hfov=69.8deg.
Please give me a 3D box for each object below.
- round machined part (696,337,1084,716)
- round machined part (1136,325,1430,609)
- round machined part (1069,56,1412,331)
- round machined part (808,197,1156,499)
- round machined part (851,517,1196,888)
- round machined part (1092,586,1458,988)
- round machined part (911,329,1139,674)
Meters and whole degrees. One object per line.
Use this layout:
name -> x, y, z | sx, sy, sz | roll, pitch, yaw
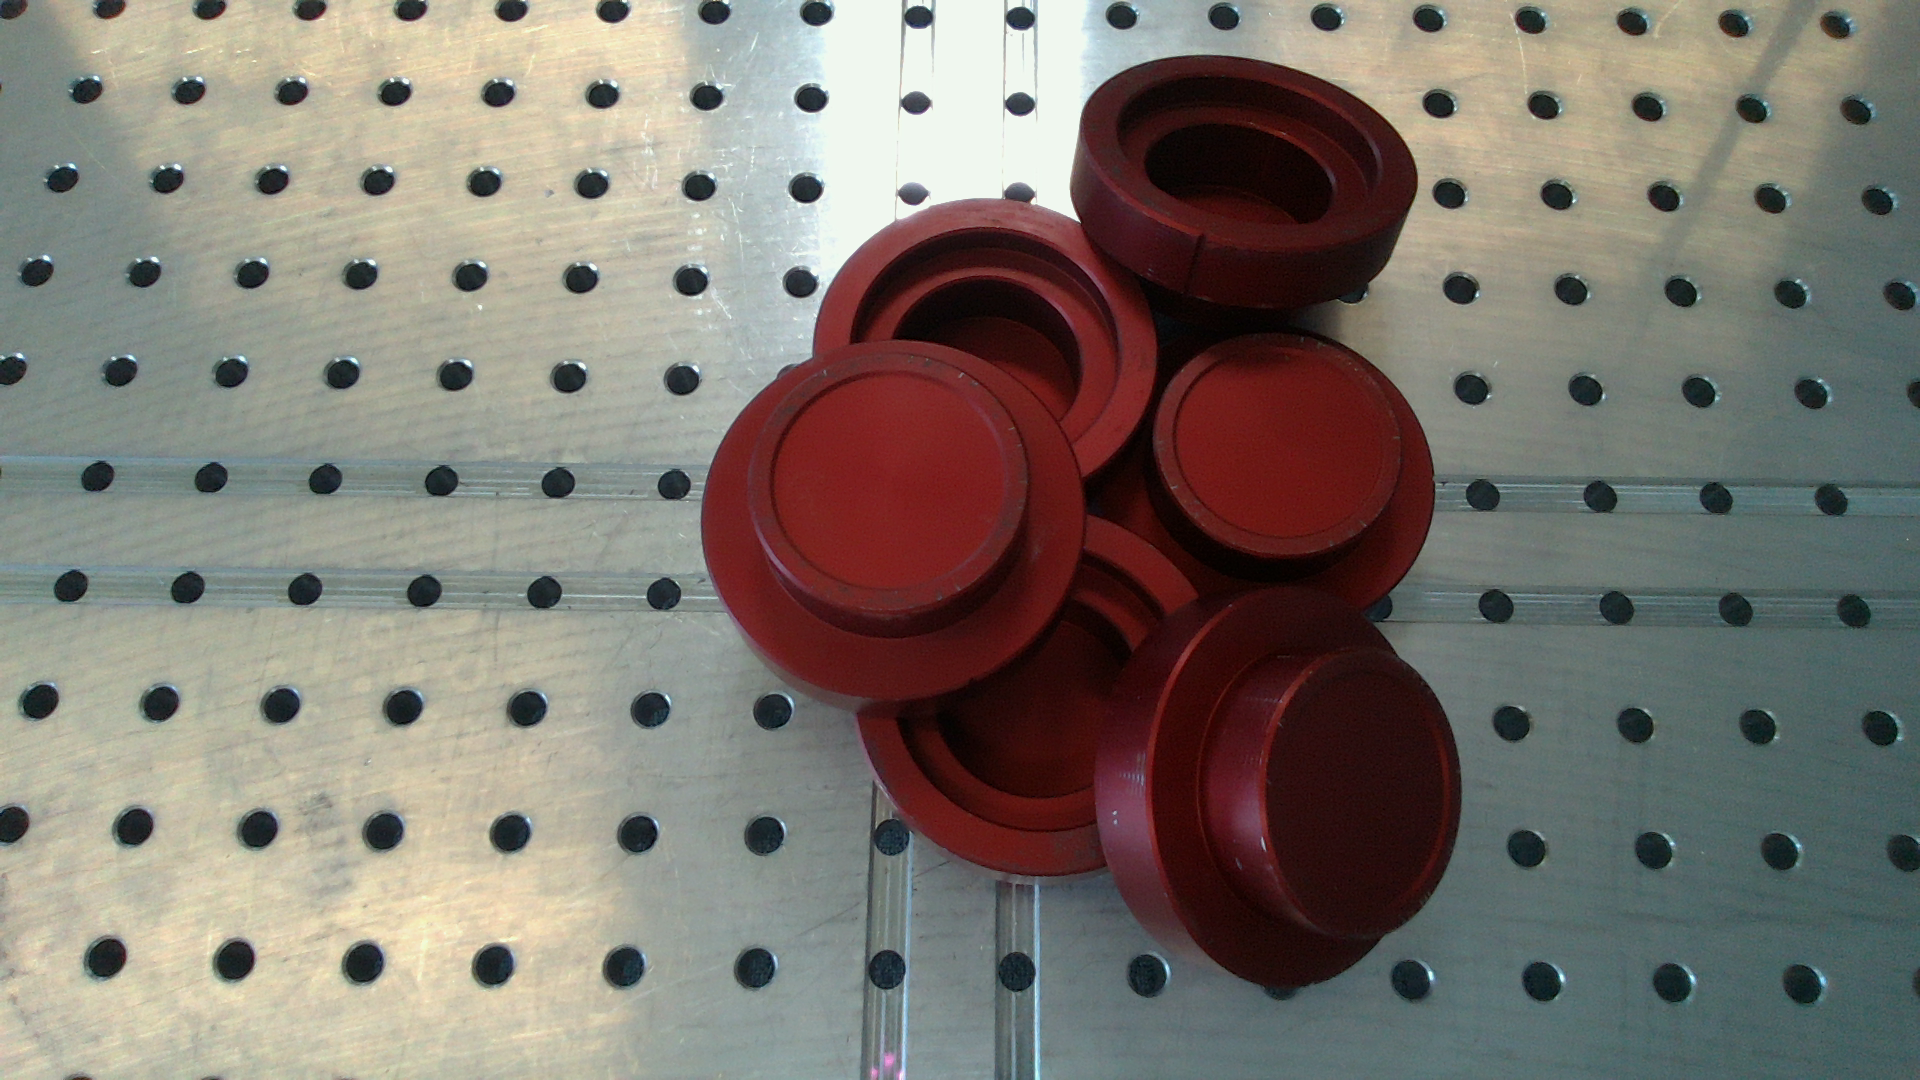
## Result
round machined part -> -0.018, -0.008, 0.346 | 0.098, 0.042, 0.098 | 0, 70, 0
round machined part -> 0.086, -0.020, 0.395 | 0.098, 0.042, 0.098 | 0, 70, 0
round machined part -> 0.080, -0.100, 0.413 | 0.098, 0.042, 0.098 | 4, 49, -5
round machined part -> 0.006, -0.048, 0.406 | 0.098, 0.042, 0.098 | 0, 70, 0
round machined part -> 0.020, 0.044, 0.372 | 0.098, 0.042, 0.098 | 0, 70, 0
round machined part -> 0.084, 0.060, 0.340 | 0.098, 0.042, 0.098 | 3, 84, -32
round machined part -> -0.001, -0.007, 0.390 | 0.098, 0.042, 0.098 | 0, 70, 0
